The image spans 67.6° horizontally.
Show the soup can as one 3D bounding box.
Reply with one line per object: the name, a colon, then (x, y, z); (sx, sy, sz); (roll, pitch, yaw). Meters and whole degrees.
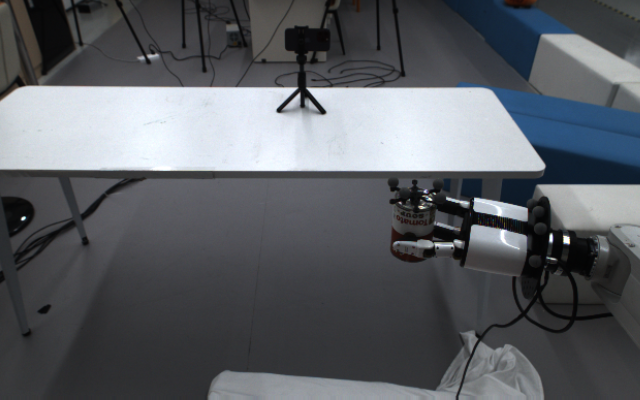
soup can: (0.150, 0.037, 0.772); (0.067, 0.101, 0.067); (-2, 34, 1)
